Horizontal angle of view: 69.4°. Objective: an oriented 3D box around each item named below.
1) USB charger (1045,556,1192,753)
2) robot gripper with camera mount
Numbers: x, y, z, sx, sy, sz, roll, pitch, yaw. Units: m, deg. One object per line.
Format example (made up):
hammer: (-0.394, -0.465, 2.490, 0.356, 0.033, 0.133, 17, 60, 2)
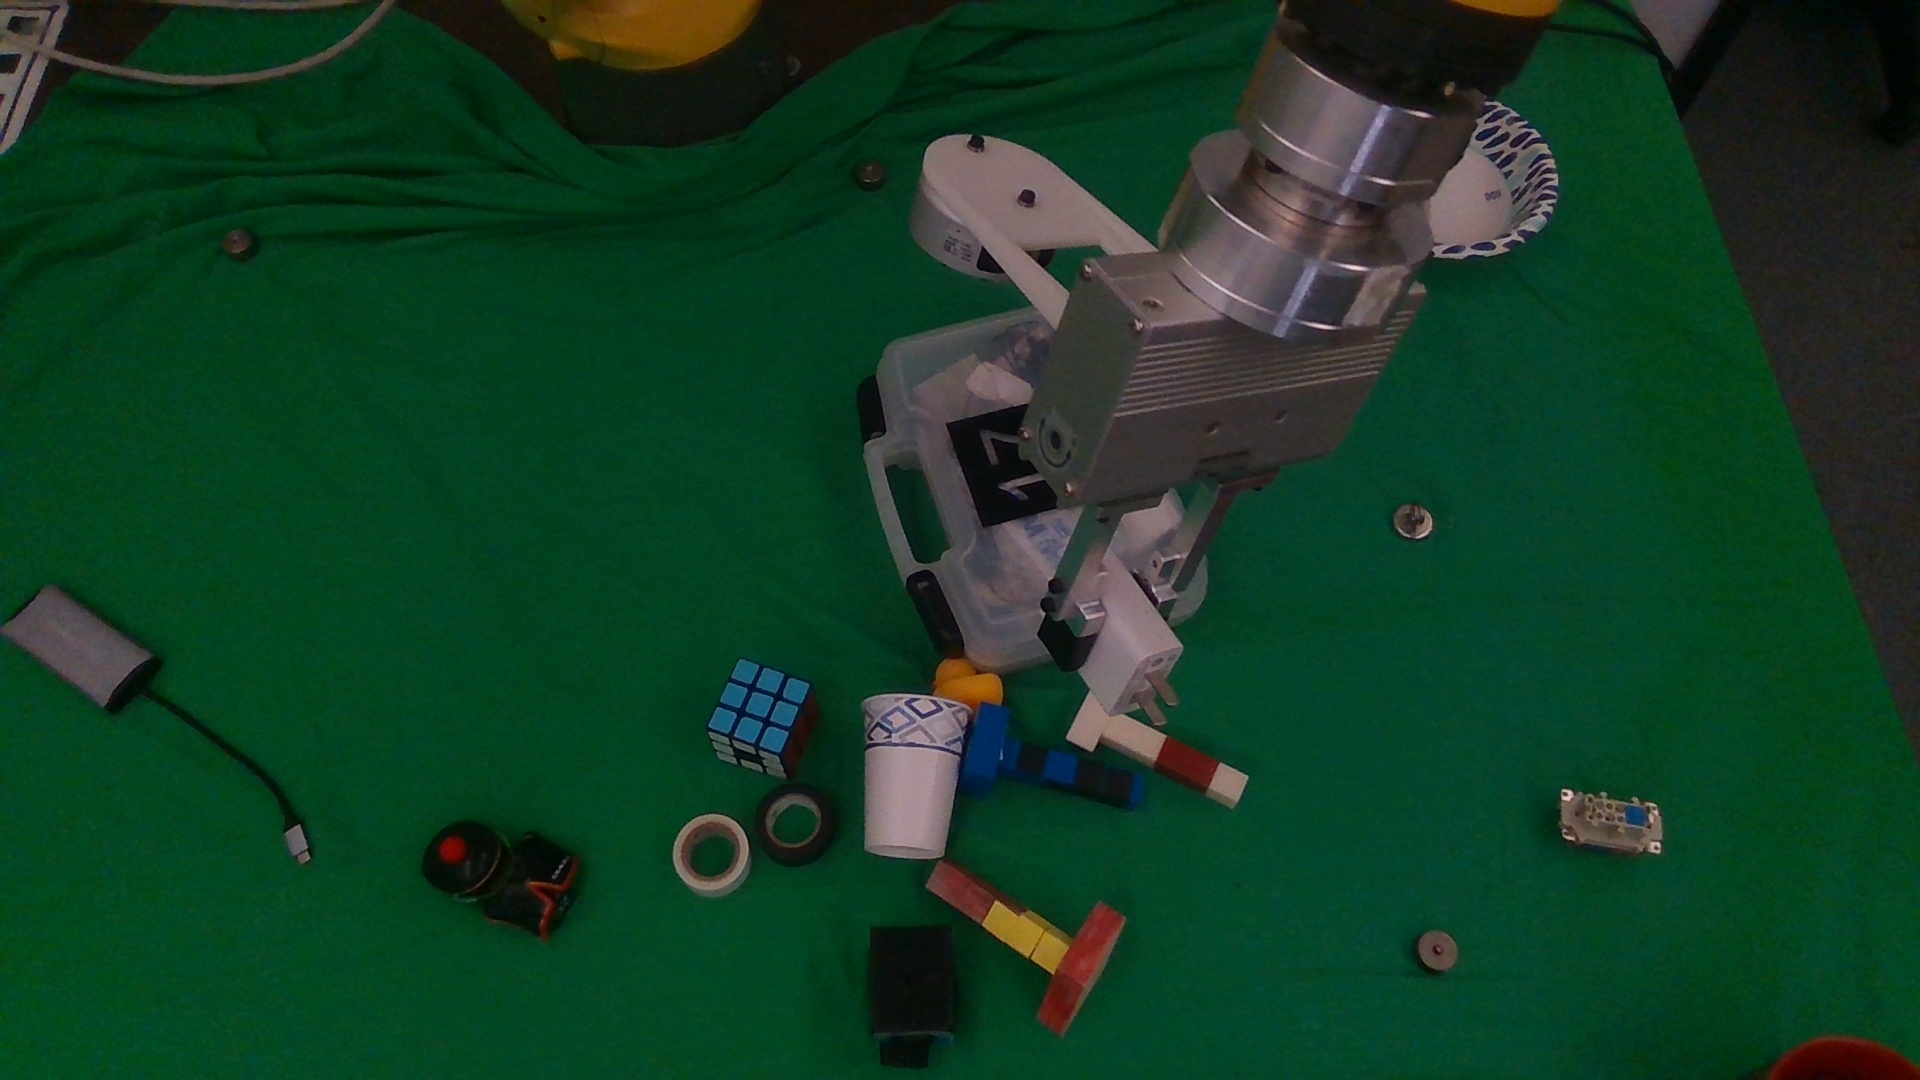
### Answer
USB charger: (0.061, 0.044, 0.517, 0.029, 0.045, 0.076, -10, 51, -27)
robot gripper with camera mount: (0.040, -0.063, 0.535, 0.118, 0.158, 0.194, -8, 42, -26)
